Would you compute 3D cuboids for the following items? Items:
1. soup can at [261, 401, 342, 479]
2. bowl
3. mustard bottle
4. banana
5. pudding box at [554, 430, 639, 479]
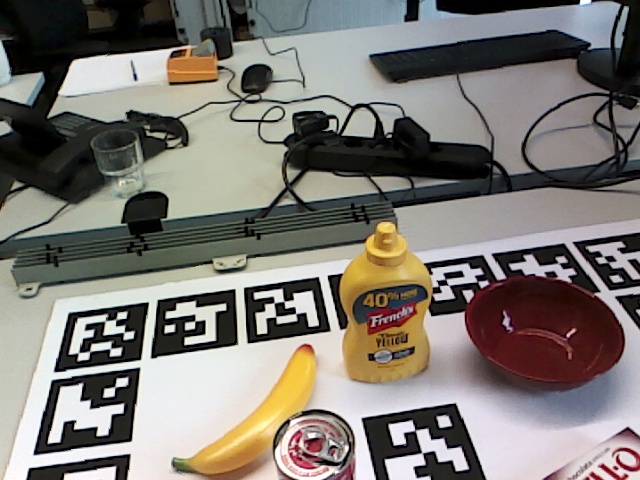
[{"bbox_3d":[-0.014,0.201,0.541,0.068,0.102,0.068,-2,35,1],"label":"soup can"},{"bbox_3d":[0.245,0.116,0.685,0.162,0.055,0.162,-5,36,3],"label":"bowl"},{"bbox_3d":[0.070,0.061,0.642,0.096,0.191,0.058,-7,34,-3],"label":"mustard bottle"},{"bbox_3d":[-0.066,0.173,0.654,0.075,0.038,0.197,12,39,37],"label":"banana"},{"bbox_3d":[0.261,0.232,0.536,0.113,0.038,0.090,-22,46,-22],"label":"pudding box"}]
